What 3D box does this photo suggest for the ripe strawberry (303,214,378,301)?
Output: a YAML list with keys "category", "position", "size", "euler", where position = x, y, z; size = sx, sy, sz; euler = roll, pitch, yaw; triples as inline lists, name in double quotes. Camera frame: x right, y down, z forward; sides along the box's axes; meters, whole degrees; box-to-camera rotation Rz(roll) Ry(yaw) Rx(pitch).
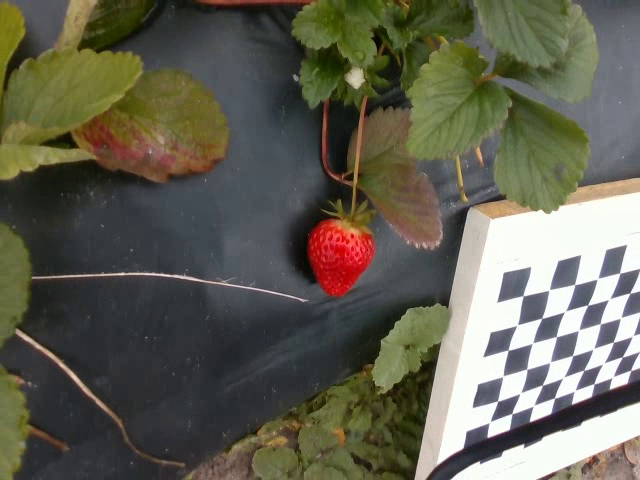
- category: "ripe strawberry"
  position: [0.007, 0.007, 0.216]
  size: [0.028, 0.033, 0.023]
  euler: [8, 20, -27]
